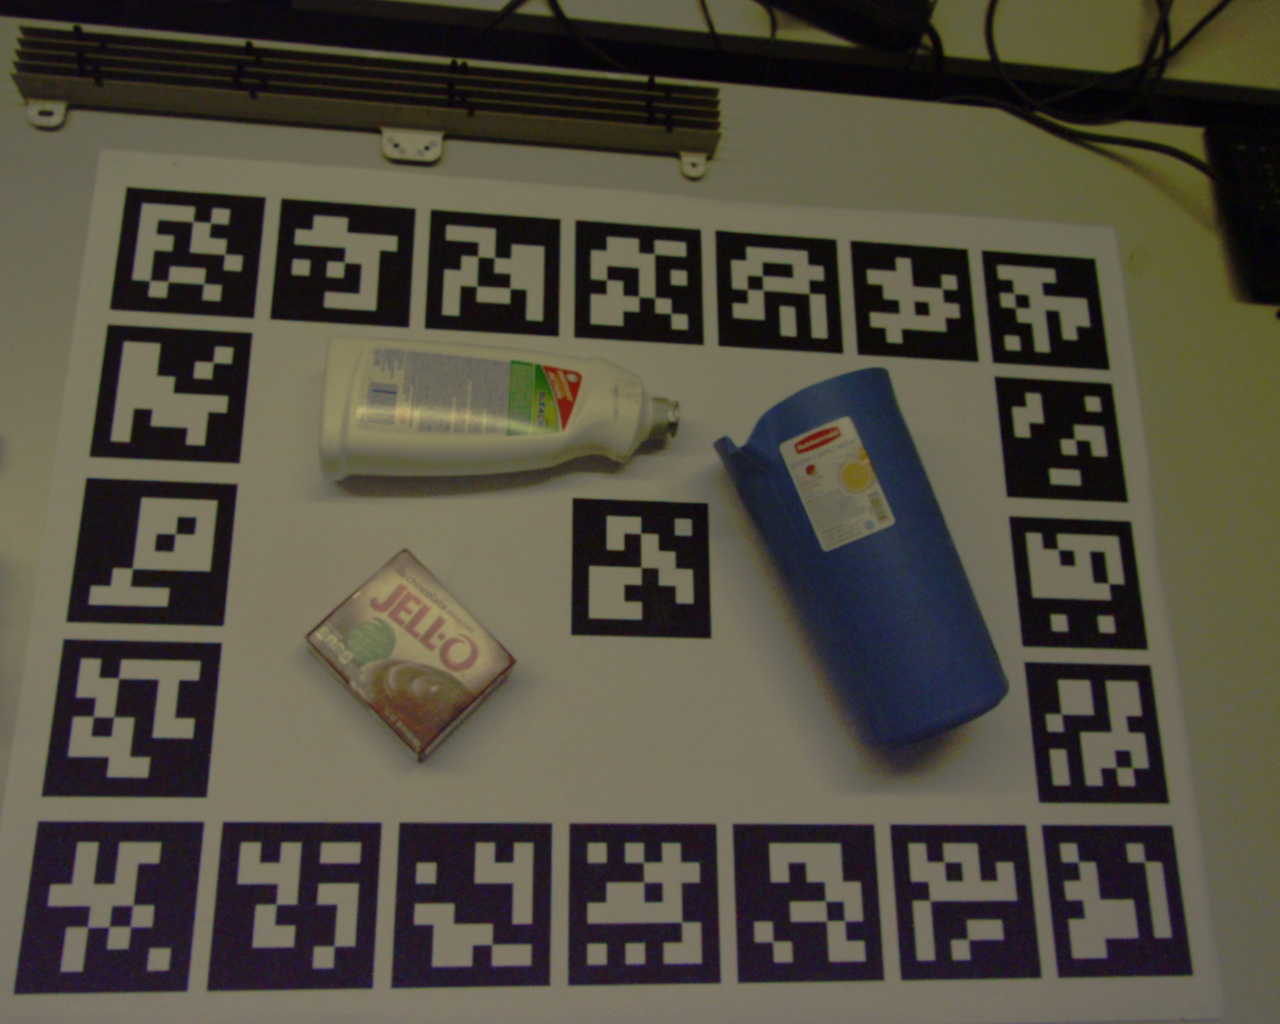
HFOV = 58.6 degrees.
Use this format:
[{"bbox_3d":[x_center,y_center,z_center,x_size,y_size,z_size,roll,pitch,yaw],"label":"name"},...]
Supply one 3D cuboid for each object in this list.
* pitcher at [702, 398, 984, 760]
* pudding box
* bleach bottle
[{"bbox_3d":[0.158,0.047,0.837,0.186,0.135,0.243,-17,81,-48],"label":"pitcher"},{"bbox_3d":[-0.161,0.105,0.796,0.114,0.039,0.089,46,67,4],"label":"pudding box"},{"bbox_3d":[-0.102,-0.062,0.845,0.249,0.068,0.103,0,79,-11],"label":"bleach bottle"}]
